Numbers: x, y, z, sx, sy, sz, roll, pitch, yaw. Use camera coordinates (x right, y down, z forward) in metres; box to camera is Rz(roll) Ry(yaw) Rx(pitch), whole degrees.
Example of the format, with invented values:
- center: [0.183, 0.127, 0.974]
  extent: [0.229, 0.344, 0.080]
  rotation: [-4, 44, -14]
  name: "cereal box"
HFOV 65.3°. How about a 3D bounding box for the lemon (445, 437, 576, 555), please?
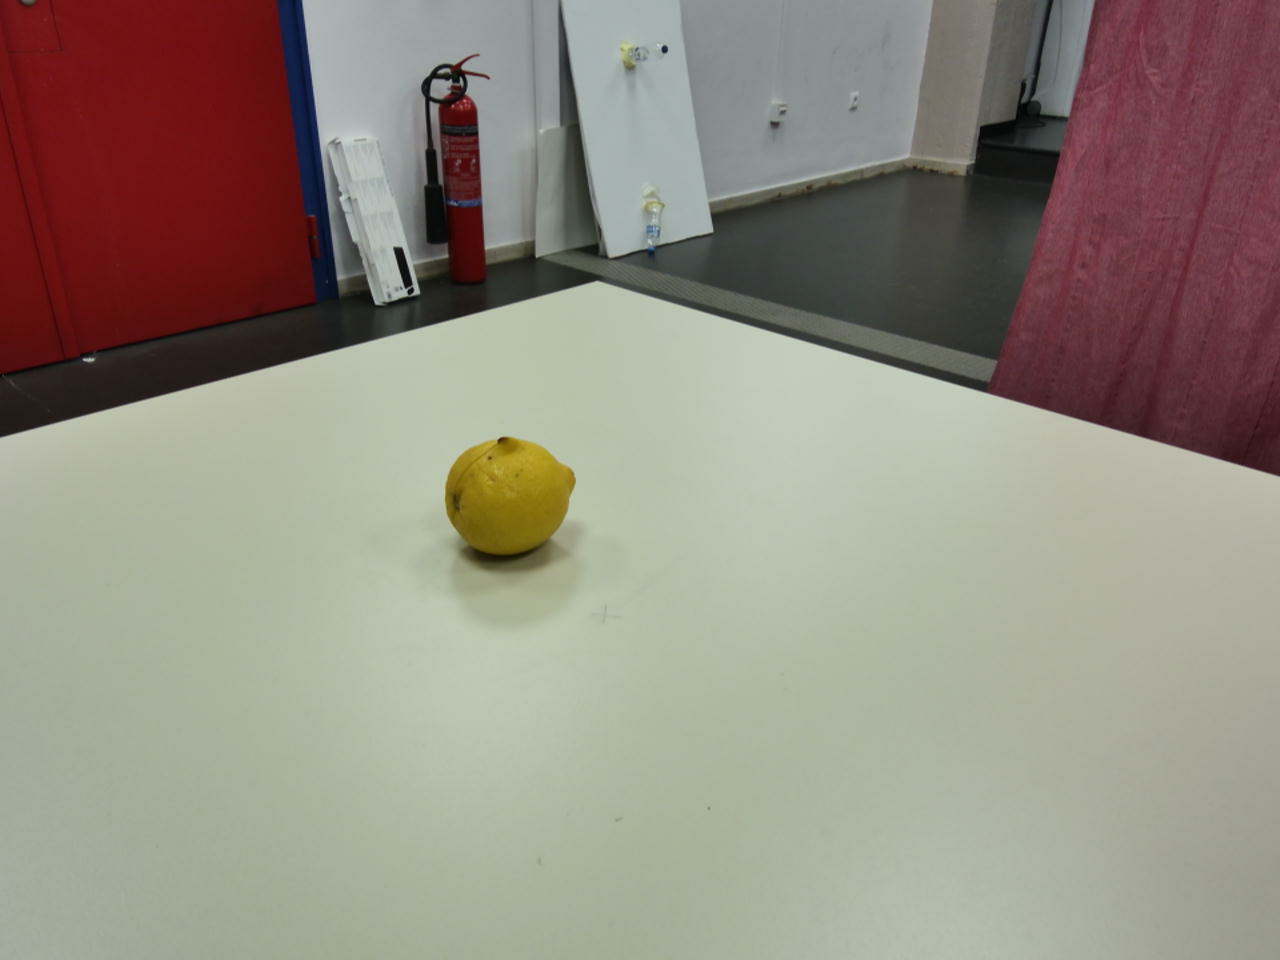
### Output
- center: [-0.077, 0.007, 0.578]
  extent: [0.071, 0.071, 0.070]
  rotation: [4, 26, 7]
  name: "lemon"
